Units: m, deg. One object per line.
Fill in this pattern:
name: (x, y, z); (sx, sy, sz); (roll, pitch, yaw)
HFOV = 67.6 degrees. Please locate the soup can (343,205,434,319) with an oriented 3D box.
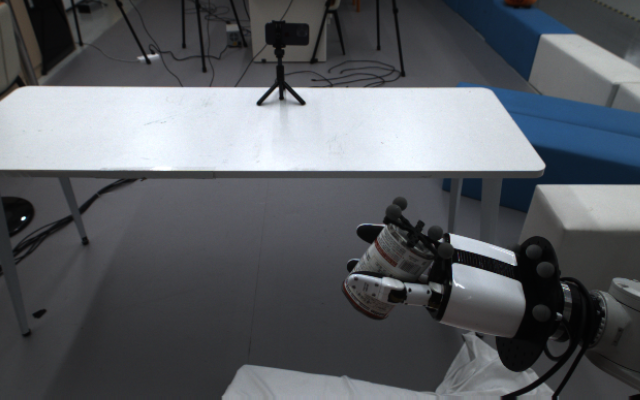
soup can: (0.082, 0.080, 0.568); (0.067, 0.101, 0.067); (28, 22, -12)
